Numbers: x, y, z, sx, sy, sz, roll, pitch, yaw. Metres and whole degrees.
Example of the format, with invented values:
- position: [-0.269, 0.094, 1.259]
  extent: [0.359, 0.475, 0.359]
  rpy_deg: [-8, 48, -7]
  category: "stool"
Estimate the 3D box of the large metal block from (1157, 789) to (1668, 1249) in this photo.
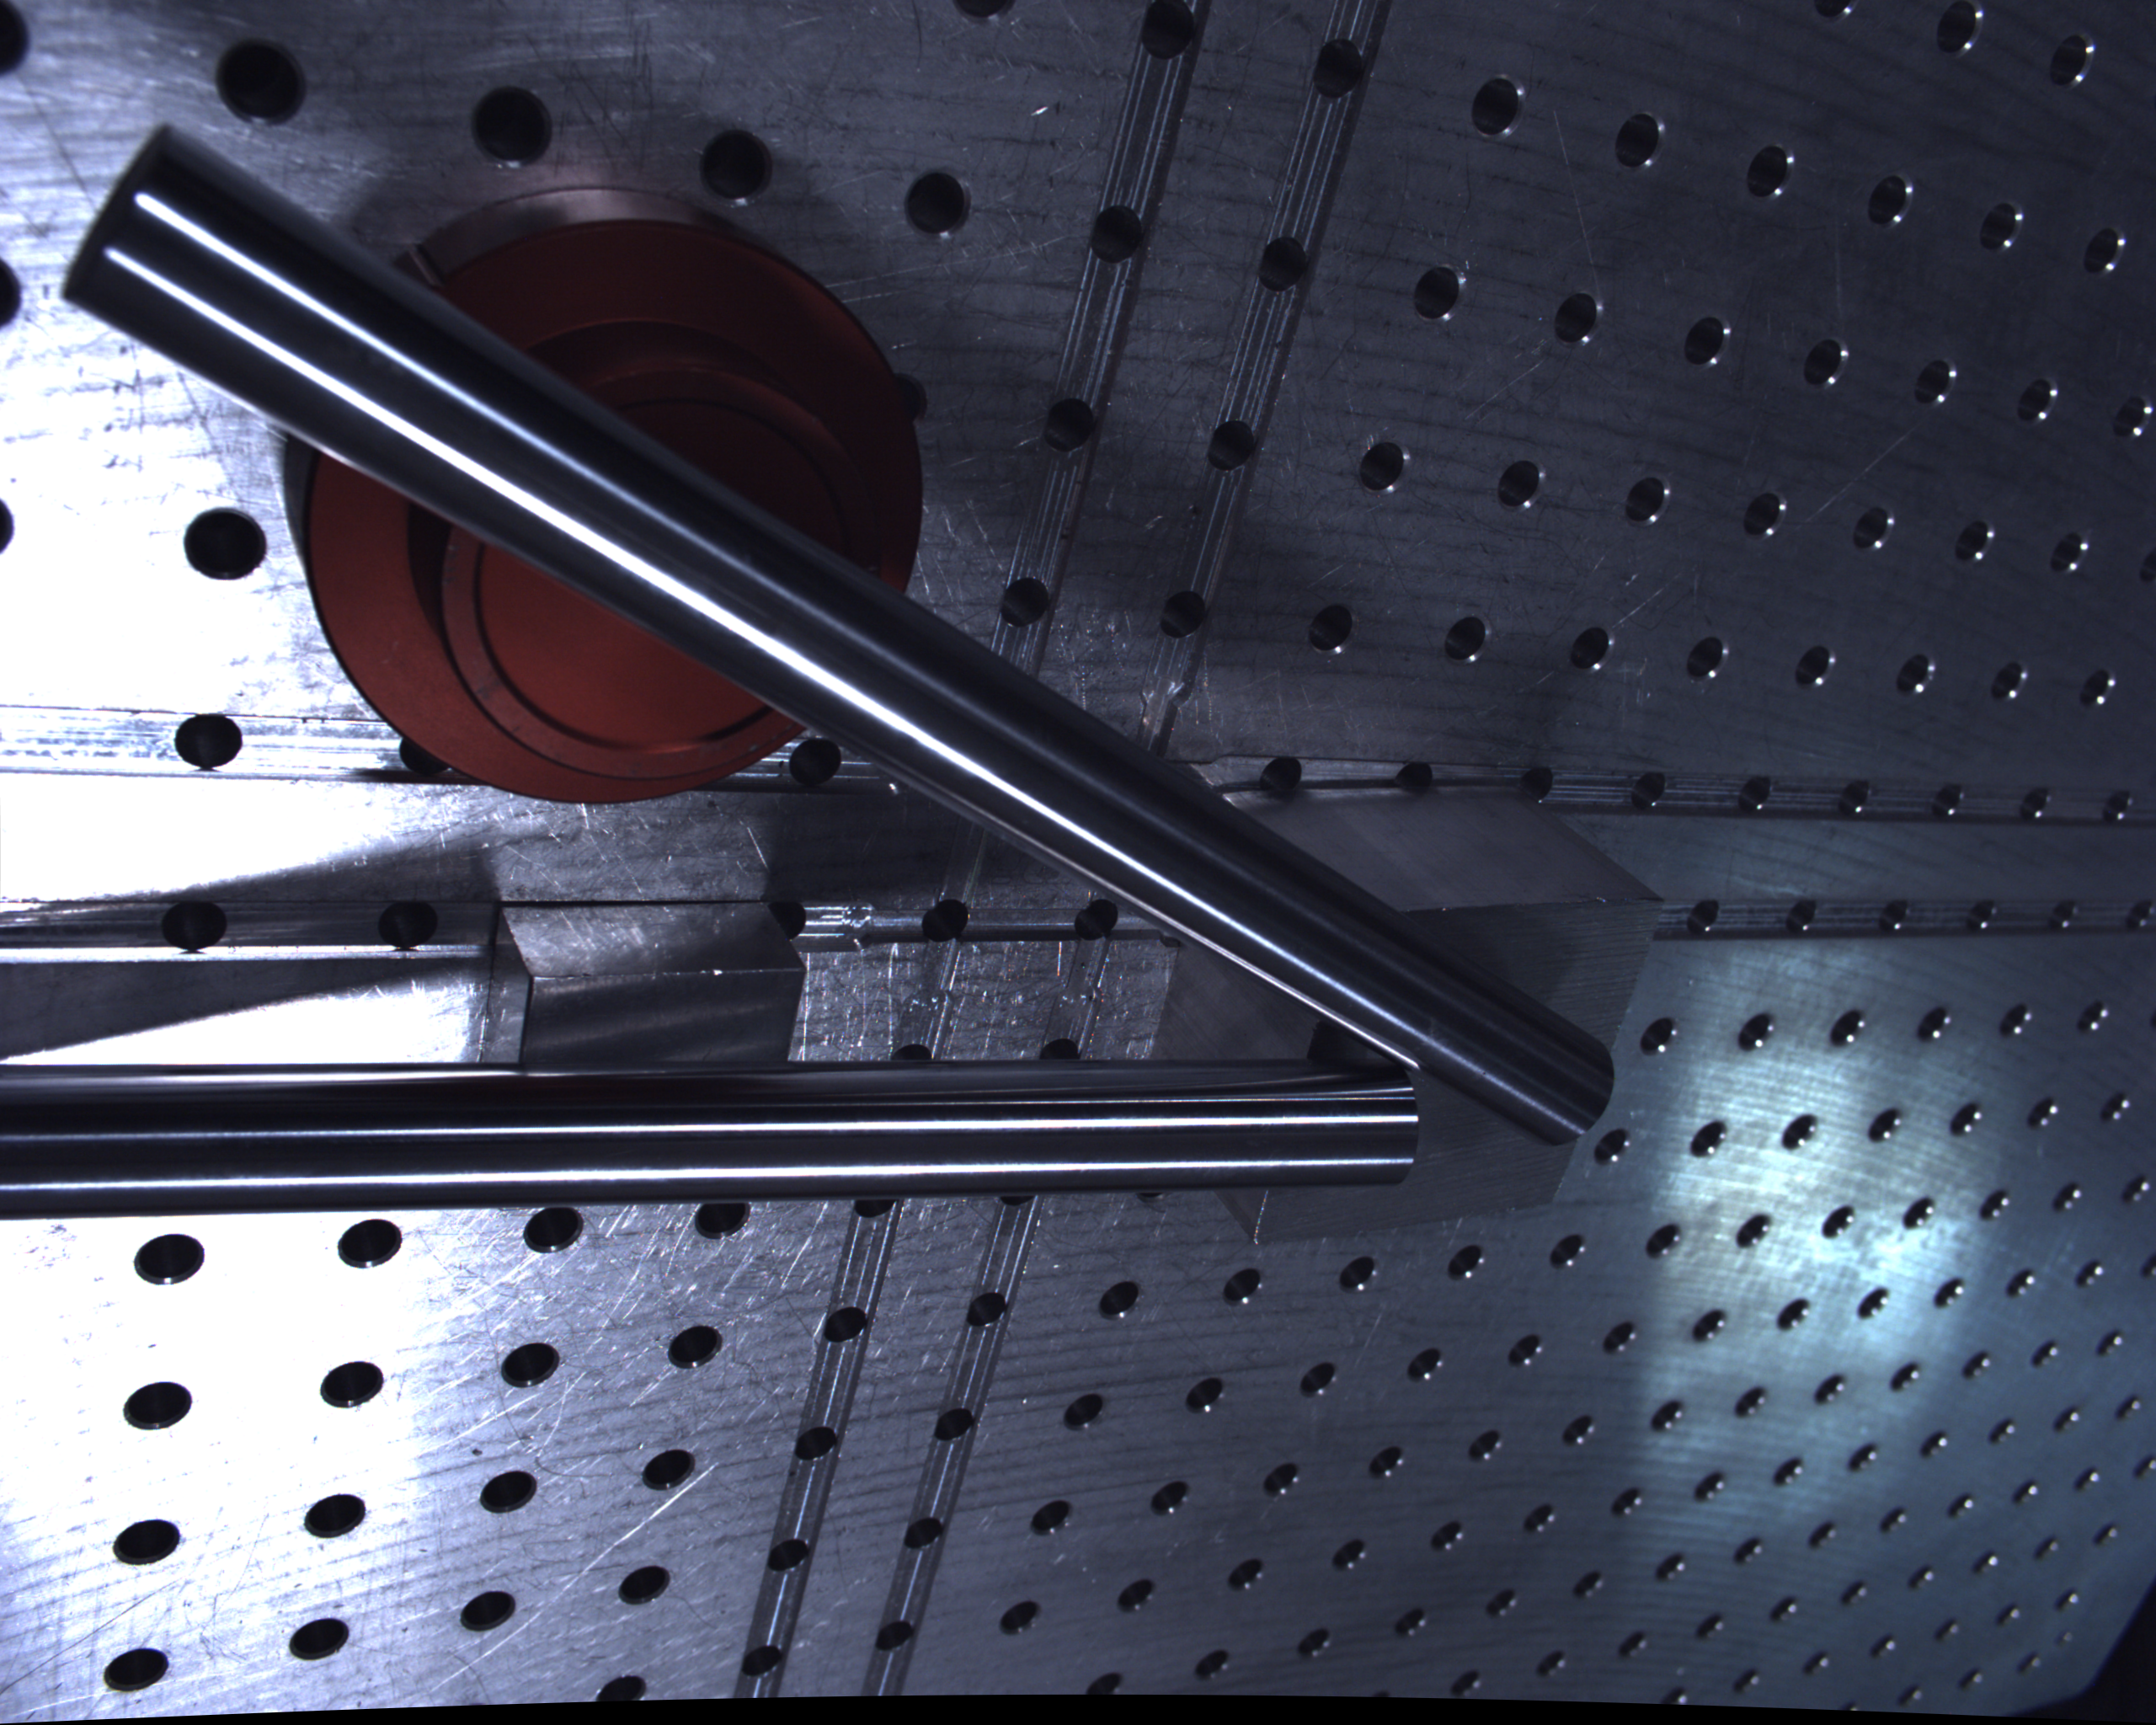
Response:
- position: [0.068, 0.032, 0.450]
  extent: [0.081, 0.050, 0.079]
  rpy_deg: [-2, 120, -28]
  category: "large metal block"

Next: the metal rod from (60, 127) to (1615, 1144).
- position: [-0.008, -0.016, 0.336]
  extent: [0.301, 0.025, 0.025]
  rpy_deg: [30, 102, -35]
  category: "metal rod"

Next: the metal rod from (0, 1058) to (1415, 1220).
- position: [-0.084, 0.047, 0.360]
  extent: [0.302, 0.025, 0.025]
  rpy_deg: [2, 118, -18]
  category: "metal rod"

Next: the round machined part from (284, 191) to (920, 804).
- position: [-0.071, -0.052, 0.330]
  extent: [0.099, 0.042, 0.097]
  rpy_deg: [-14, 125, -21]
  category: "round machined part"

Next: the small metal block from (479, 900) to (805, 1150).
- position: [-0.083, 0.035, 0.389]
  extent: [0.050, 0.025, 0.050]
  rpy_deg: [-1, 119, -29]
  category: "small metal block"
